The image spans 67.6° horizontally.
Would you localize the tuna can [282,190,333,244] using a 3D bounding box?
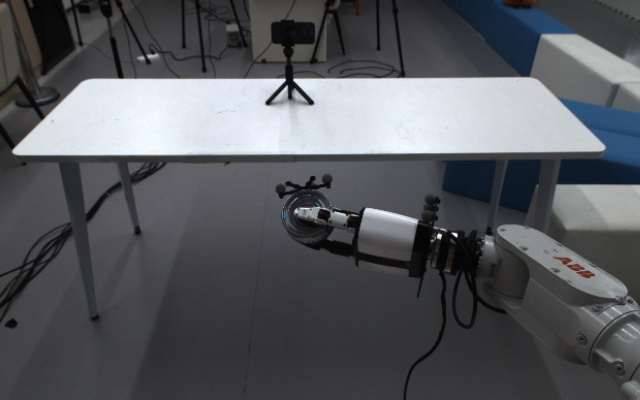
[{"bbox_3d":[-0.015,0.032,0.776,0.085,0.034,0.085,-4,68,9],"label":"tuna can"}]
